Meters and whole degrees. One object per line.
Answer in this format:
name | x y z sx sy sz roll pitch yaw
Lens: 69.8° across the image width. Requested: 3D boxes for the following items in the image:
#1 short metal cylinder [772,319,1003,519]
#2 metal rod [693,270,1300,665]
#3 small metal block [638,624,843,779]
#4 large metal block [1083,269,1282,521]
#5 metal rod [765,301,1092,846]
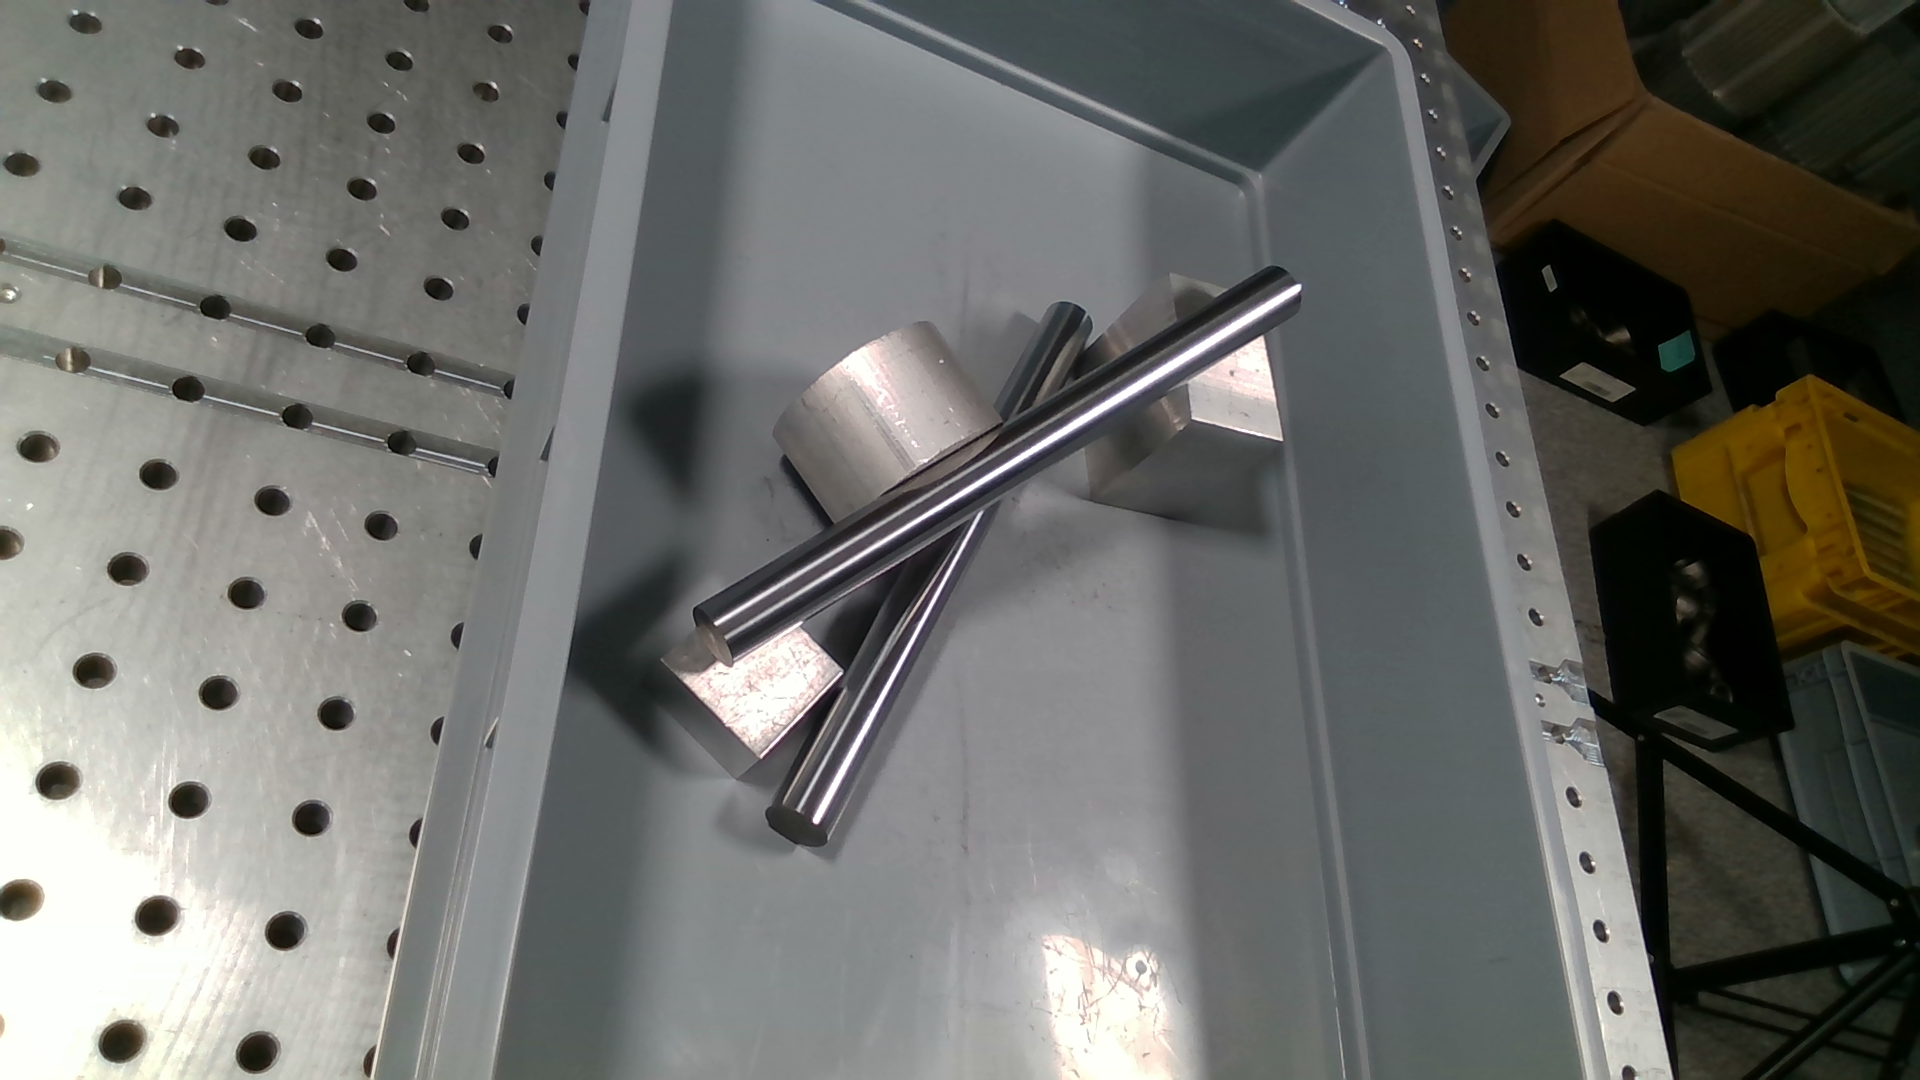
short metal cylinder | -0.028 -0.044 0.554 0.080 0.080 0.050 -30 83 -39
metal rod | 0.028 -0.038 0.547 0.300 0.025 0.025 -32 84 -26
small metal block | -0.081 0.050 0.508 0.050 0.025 0.050 46 51 -2
large metal block | 0.099 -0.066 0.647 0.050 0.080 0.080 11 60 -27
metal rod | -0.003 -0.002 0.584 0.025 0.025 0.299 36 52 -10
